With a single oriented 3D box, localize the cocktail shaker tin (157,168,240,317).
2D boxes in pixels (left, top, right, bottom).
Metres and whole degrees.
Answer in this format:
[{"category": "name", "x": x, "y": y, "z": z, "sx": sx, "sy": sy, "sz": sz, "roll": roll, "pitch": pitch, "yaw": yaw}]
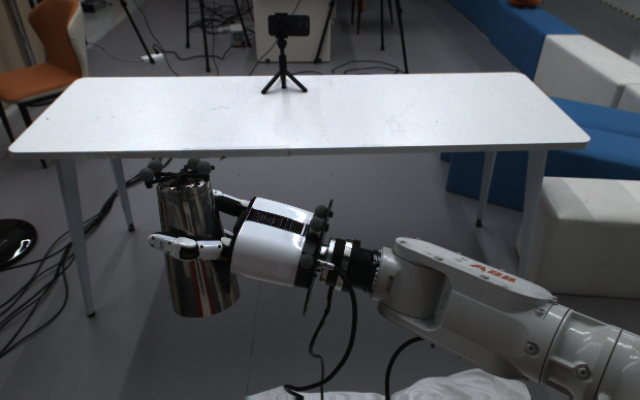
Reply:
[{"category": "cocktail shaker tin", "x": -0.164, "y": 0.056, "z": 0.634, "sx": 0.093, "sy": 0.170, "sz": 0.093, "roll": -6, "pitch": 19, "yaw": 2}]
